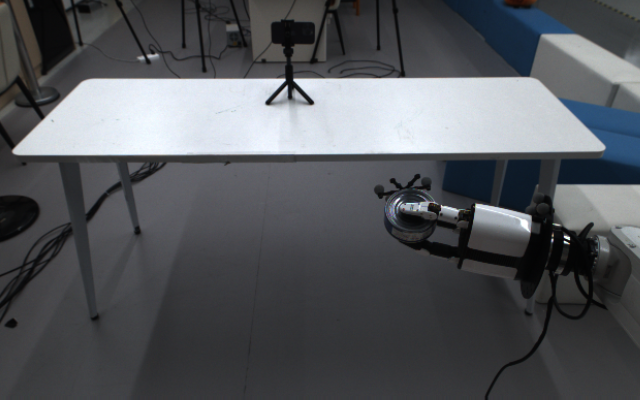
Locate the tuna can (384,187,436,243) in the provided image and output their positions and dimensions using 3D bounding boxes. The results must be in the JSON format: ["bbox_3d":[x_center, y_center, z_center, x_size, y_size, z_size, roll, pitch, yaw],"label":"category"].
[{"bbox_3d":[0.149,0.023,0.780,0.085,0.034,0.085,-3,59,5],"label":"tuna can"}]
